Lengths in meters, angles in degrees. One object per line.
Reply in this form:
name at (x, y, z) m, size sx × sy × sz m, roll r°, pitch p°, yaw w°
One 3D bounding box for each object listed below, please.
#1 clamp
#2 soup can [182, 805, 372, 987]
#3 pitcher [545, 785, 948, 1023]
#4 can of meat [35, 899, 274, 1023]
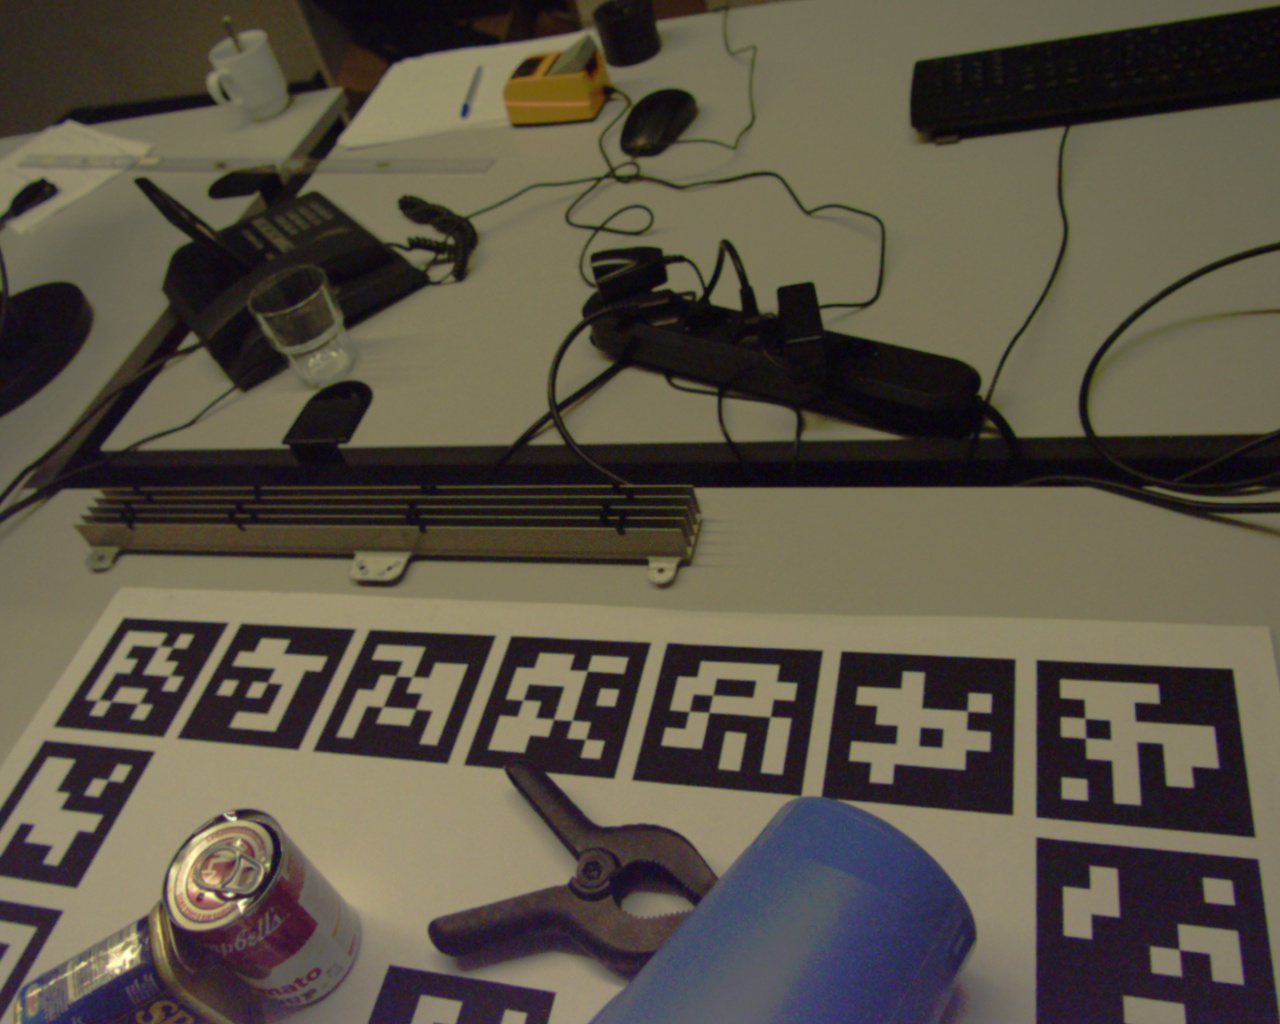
clamp at (-0.038, 0.208, 0.678) m, size 0.166 × 0.036 × 0.121 m, roll 3°, pitch 44°, yaw 18°
soup can at (-0.209, 0.226, 0.665) m, size 0.068 × 0.101 × 0.068 m, roll -12°, pitch 45°, yaw 12°
pitcher at (0.032, 0.246, 0.526) m, size 0.191 × 0.132 × 0.241 m, roll -2°, pitch 35°, yaw 49°
can of meat at (-0.268, 0.274, 0.633) m, size 0.083 × 0.101 × 0.058 m, roll -29°, pitch 45°, yaw -4°
